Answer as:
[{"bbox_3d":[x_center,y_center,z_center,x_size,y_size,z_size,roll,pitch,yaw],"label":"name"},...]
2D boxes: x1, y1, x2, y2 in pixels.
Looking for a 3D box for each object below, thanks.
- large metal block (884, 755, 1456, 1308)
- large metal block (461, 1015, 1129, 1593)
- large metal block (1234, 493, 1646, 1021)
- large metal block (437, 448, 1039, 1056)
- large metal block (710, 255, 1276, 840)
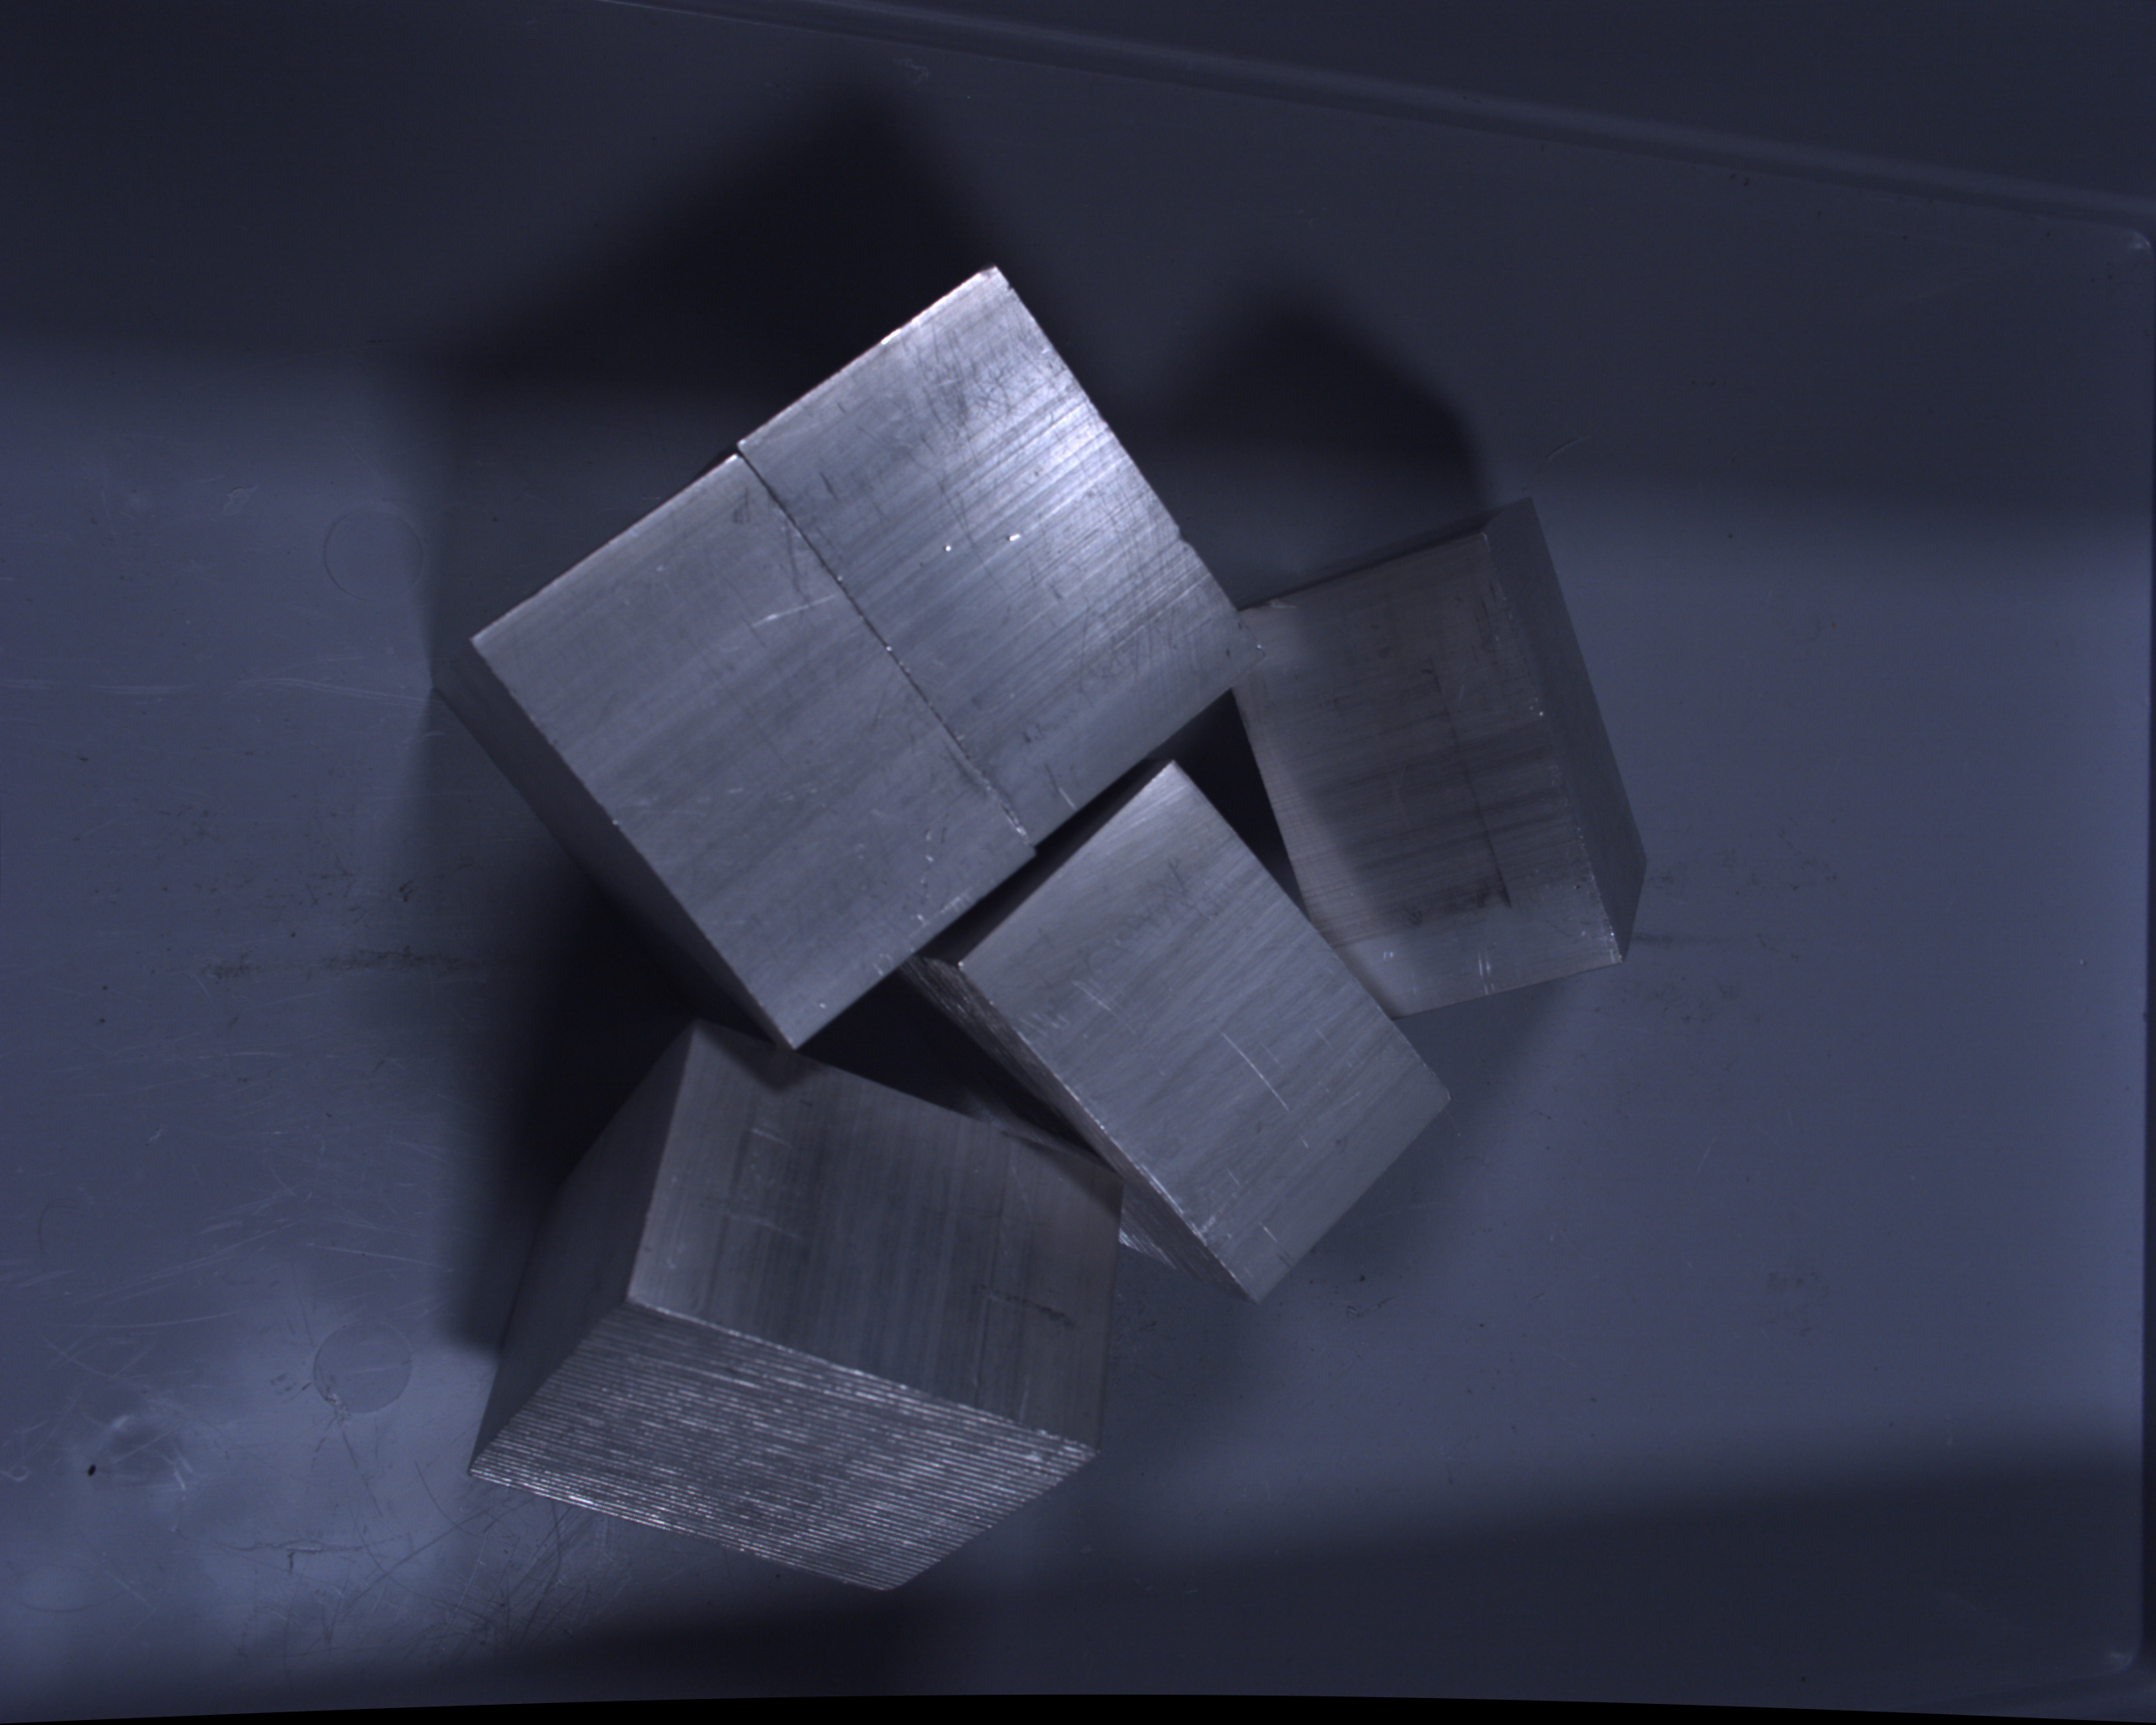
[{"bbox_3d":[0.009,0.028,0.384,0.050,0.080,0.080,-44,104,-15],"label":"large metal block"},{"bbox_3d":[-0.048,0.079,0.356,0.080,0.080,0.050,23,48,-19],"label":"large metal block"},{"bbox_3d":[0.071,-0.022,0.400,0.050,0.080,0.080,-17,98,21],"label":"large metal block"},{"bbox_3d":[-0.062,-0.017,0.358,0.050,0.080,0.080,-39,103,-16],"label":"large metal block"},{"bbox_3d":[-0.023,-0.051,0.372,0.050,0.080,0.080,-41,103,-16],"label":"large metal block"}]
